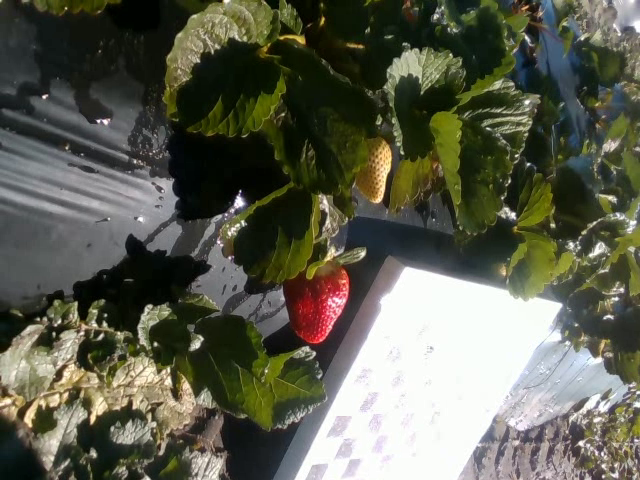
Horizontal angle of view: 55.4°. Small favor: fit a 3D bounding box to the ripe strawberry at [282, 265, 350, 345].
[{"bbox_3d":[-0.002,0.043,0.413,0.048,0.068,0.040,-7,25,-36],"label":"ripe strawberry"}]
